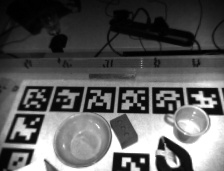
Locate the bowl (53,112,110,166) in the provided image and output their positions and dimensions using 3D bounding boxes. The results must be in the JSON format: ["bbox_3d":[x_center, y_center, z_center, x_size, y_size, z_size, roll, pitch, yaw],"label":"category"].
[{"bbox_3d":[-0.084,0.153,0.617,0.161,0.055,0.161,-2,57,4],"label":"bowl"}]

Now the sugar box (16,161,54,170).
[{"bbox_3d":[-0.173,0.232,0.503,0.093,0.177,0.045,-21,58,-8],"label":"sugar box"}]

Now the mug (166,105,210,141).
[{"bbox_3d":[0.202,0.100,0.604,0.116,0.082,0.093,24,63,17],"label":"mug"}]

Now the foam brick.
[{"bbox_3d":[0.035,0.134,0.626,0.053,0.052,0.077,-24,58,-7],"label":"foam brick"}]

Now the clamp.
[{"bbox_3d":[0.163,0.217,0.553,0.166,0.037,0.201,-20,58,-5],"label":"clamp"}]
